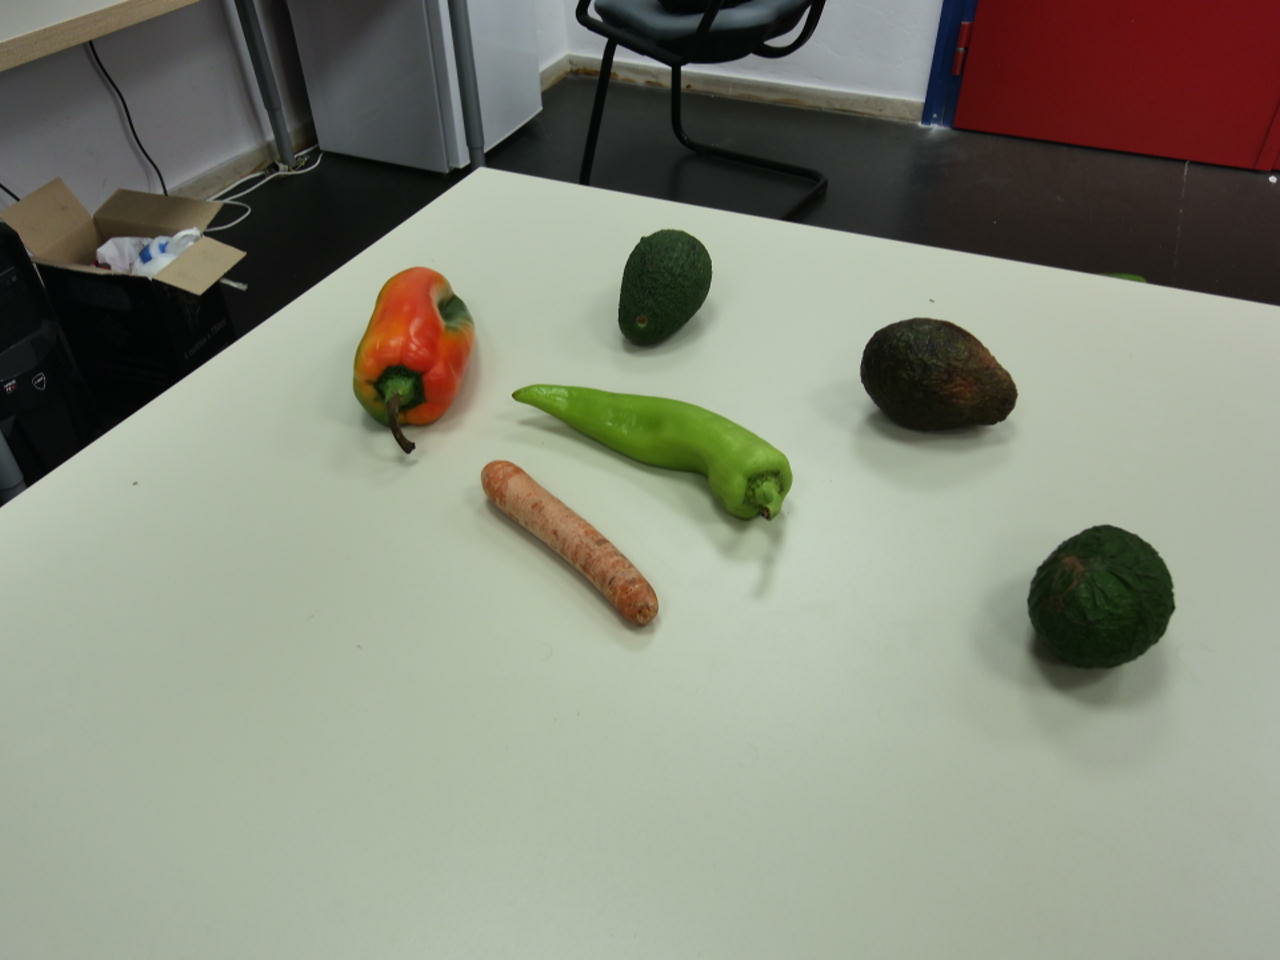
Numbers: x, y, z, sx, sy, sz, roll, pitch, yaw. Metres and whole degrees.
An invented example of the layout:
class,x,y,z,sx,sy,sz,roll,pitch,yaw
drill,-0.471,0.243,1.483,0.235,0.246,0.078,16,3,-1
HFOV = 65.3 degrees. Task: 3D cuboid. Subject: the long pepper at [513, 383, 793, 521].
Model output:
class,x,y,z,sx,sy,sz,roll,pitch,yaw
long pepper,0.013,-0.028,0.611,0.205,0.045,0.065,28,47,31
